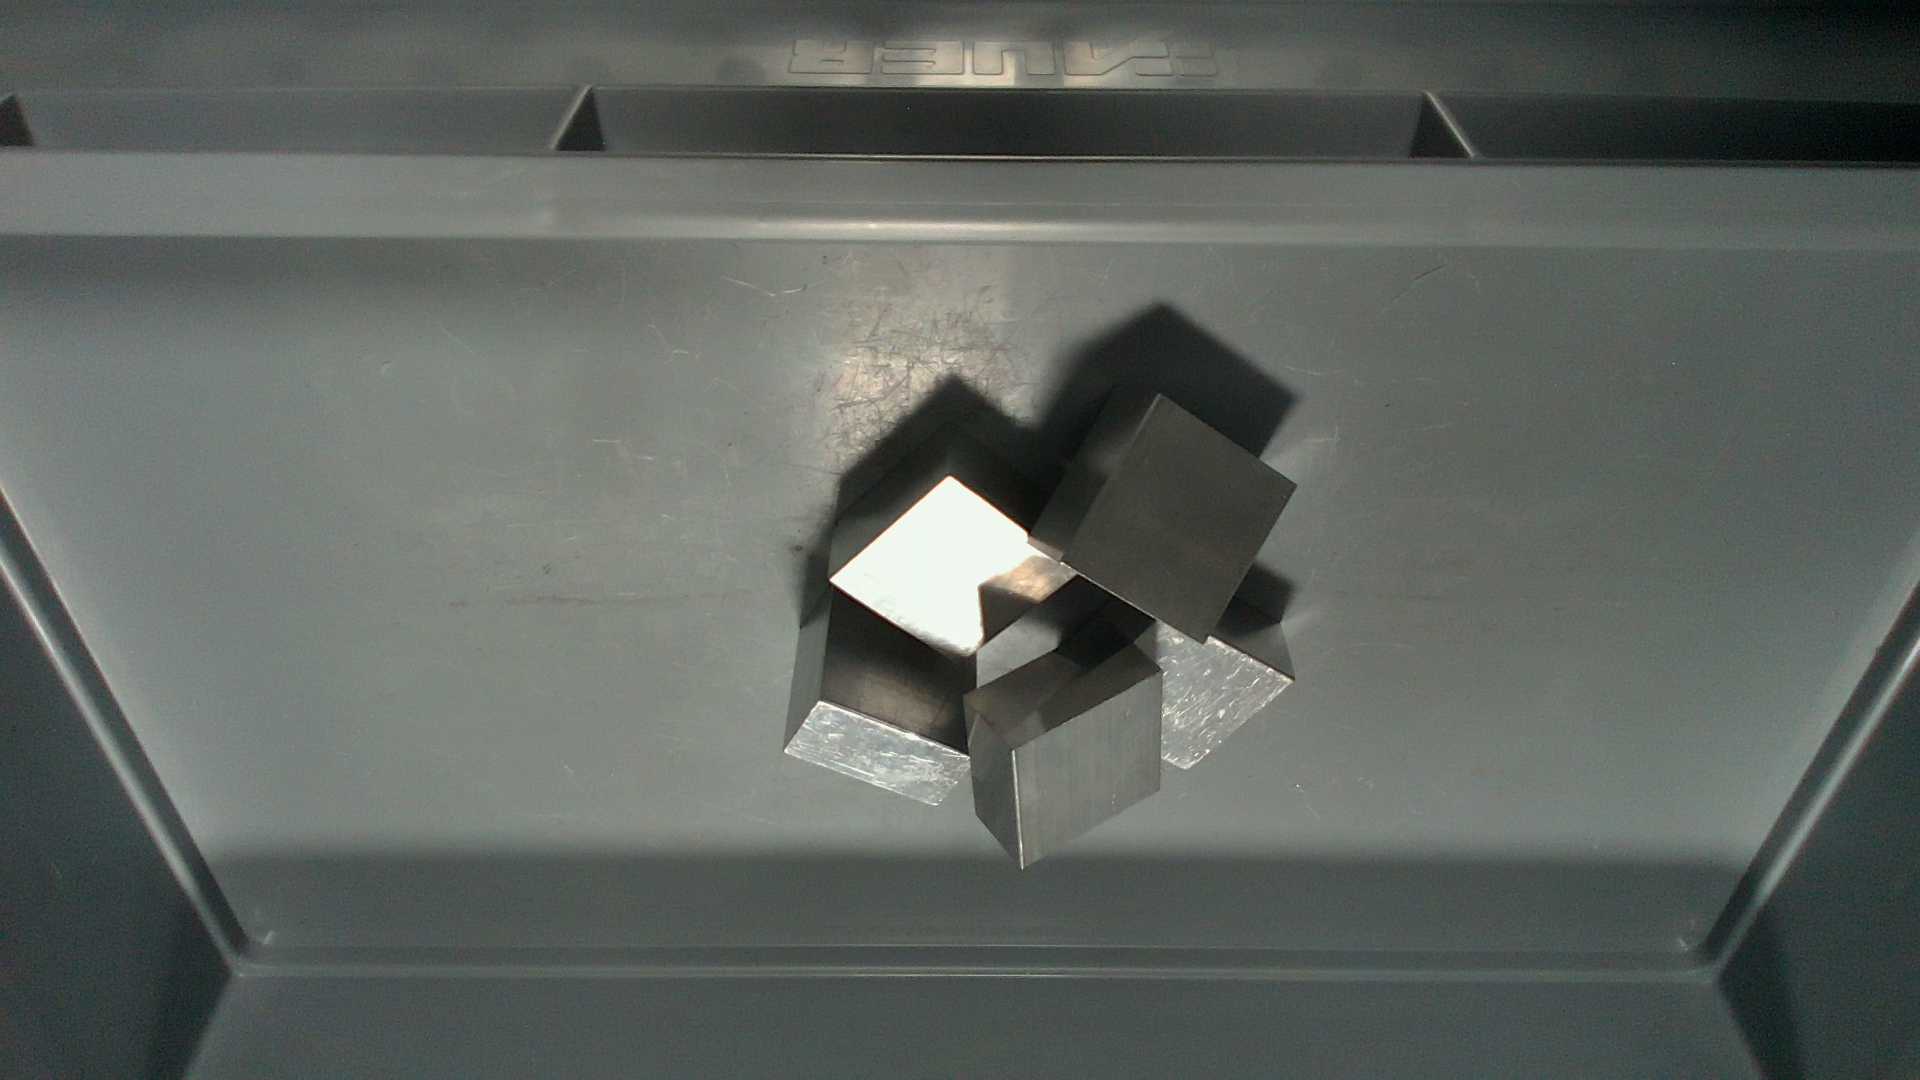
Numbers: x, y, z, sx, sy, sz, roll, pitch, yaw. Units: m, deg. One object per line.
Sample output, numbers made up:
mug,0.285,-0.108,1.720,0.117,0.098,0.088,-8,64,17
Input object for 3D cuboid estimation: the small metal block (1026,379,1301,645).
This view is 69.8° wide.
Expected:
small metal block,0.054,-0.008,0.368,0.050,0.025,0.050,30,91,-23

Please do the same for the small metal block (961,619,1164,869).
small metal block,0.030,0.058,0.390,0.050,0.025,0.050,-25,134,-22

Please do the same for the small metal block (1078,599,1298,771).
small metal block,0.065,0.038,0.421,0.050,0.025,0.050,28,125,-22

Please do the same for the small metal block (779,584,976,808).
small metal block,-0.023,0.045,0.410,0.050,0.050,0.025,23,126,-18

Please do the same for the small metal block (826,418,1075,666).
small metal block,-0.002,0.002,0.389,0.050,0.025,0.050,36,121,-26
